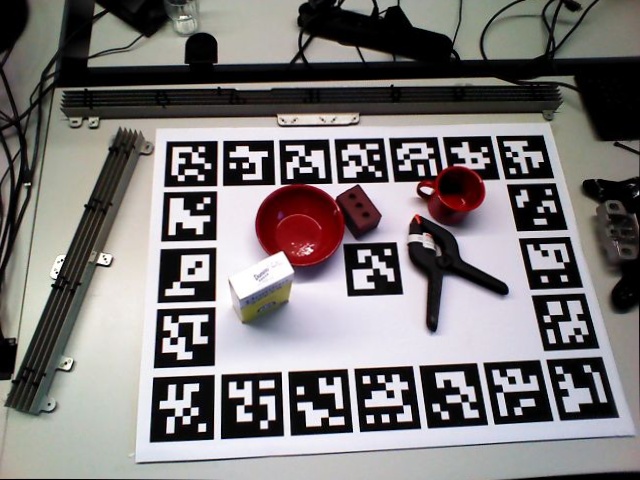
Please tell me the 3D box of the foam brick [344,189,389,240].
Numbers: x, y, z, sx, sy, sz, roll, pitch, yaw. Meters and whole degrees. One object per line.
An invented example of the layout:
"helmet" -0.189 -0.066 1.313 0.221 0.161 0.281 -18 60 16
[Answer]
"foam brick" 0.084 -0.049 0.958 0.052 0.051 0.078 -28 75 -13

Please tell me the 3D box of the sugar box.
"sugar box" -0.091 0.082 0.824 0.092 0.177 0.045 -26 75 -15

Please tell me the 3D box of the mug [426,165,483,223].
"mug" 0.253 -0.087 0.959 0.117 0.082 0.093 23 69 1

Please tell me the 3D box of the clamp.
"clamp" 0.227 0.040 0.930 0.165 0.037 0.202 -25 74 -10

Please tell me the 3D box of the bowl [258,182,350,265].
"bowl" -0.030 -0.023 0.932 0.162 0.055 0.161 2 69 -4
